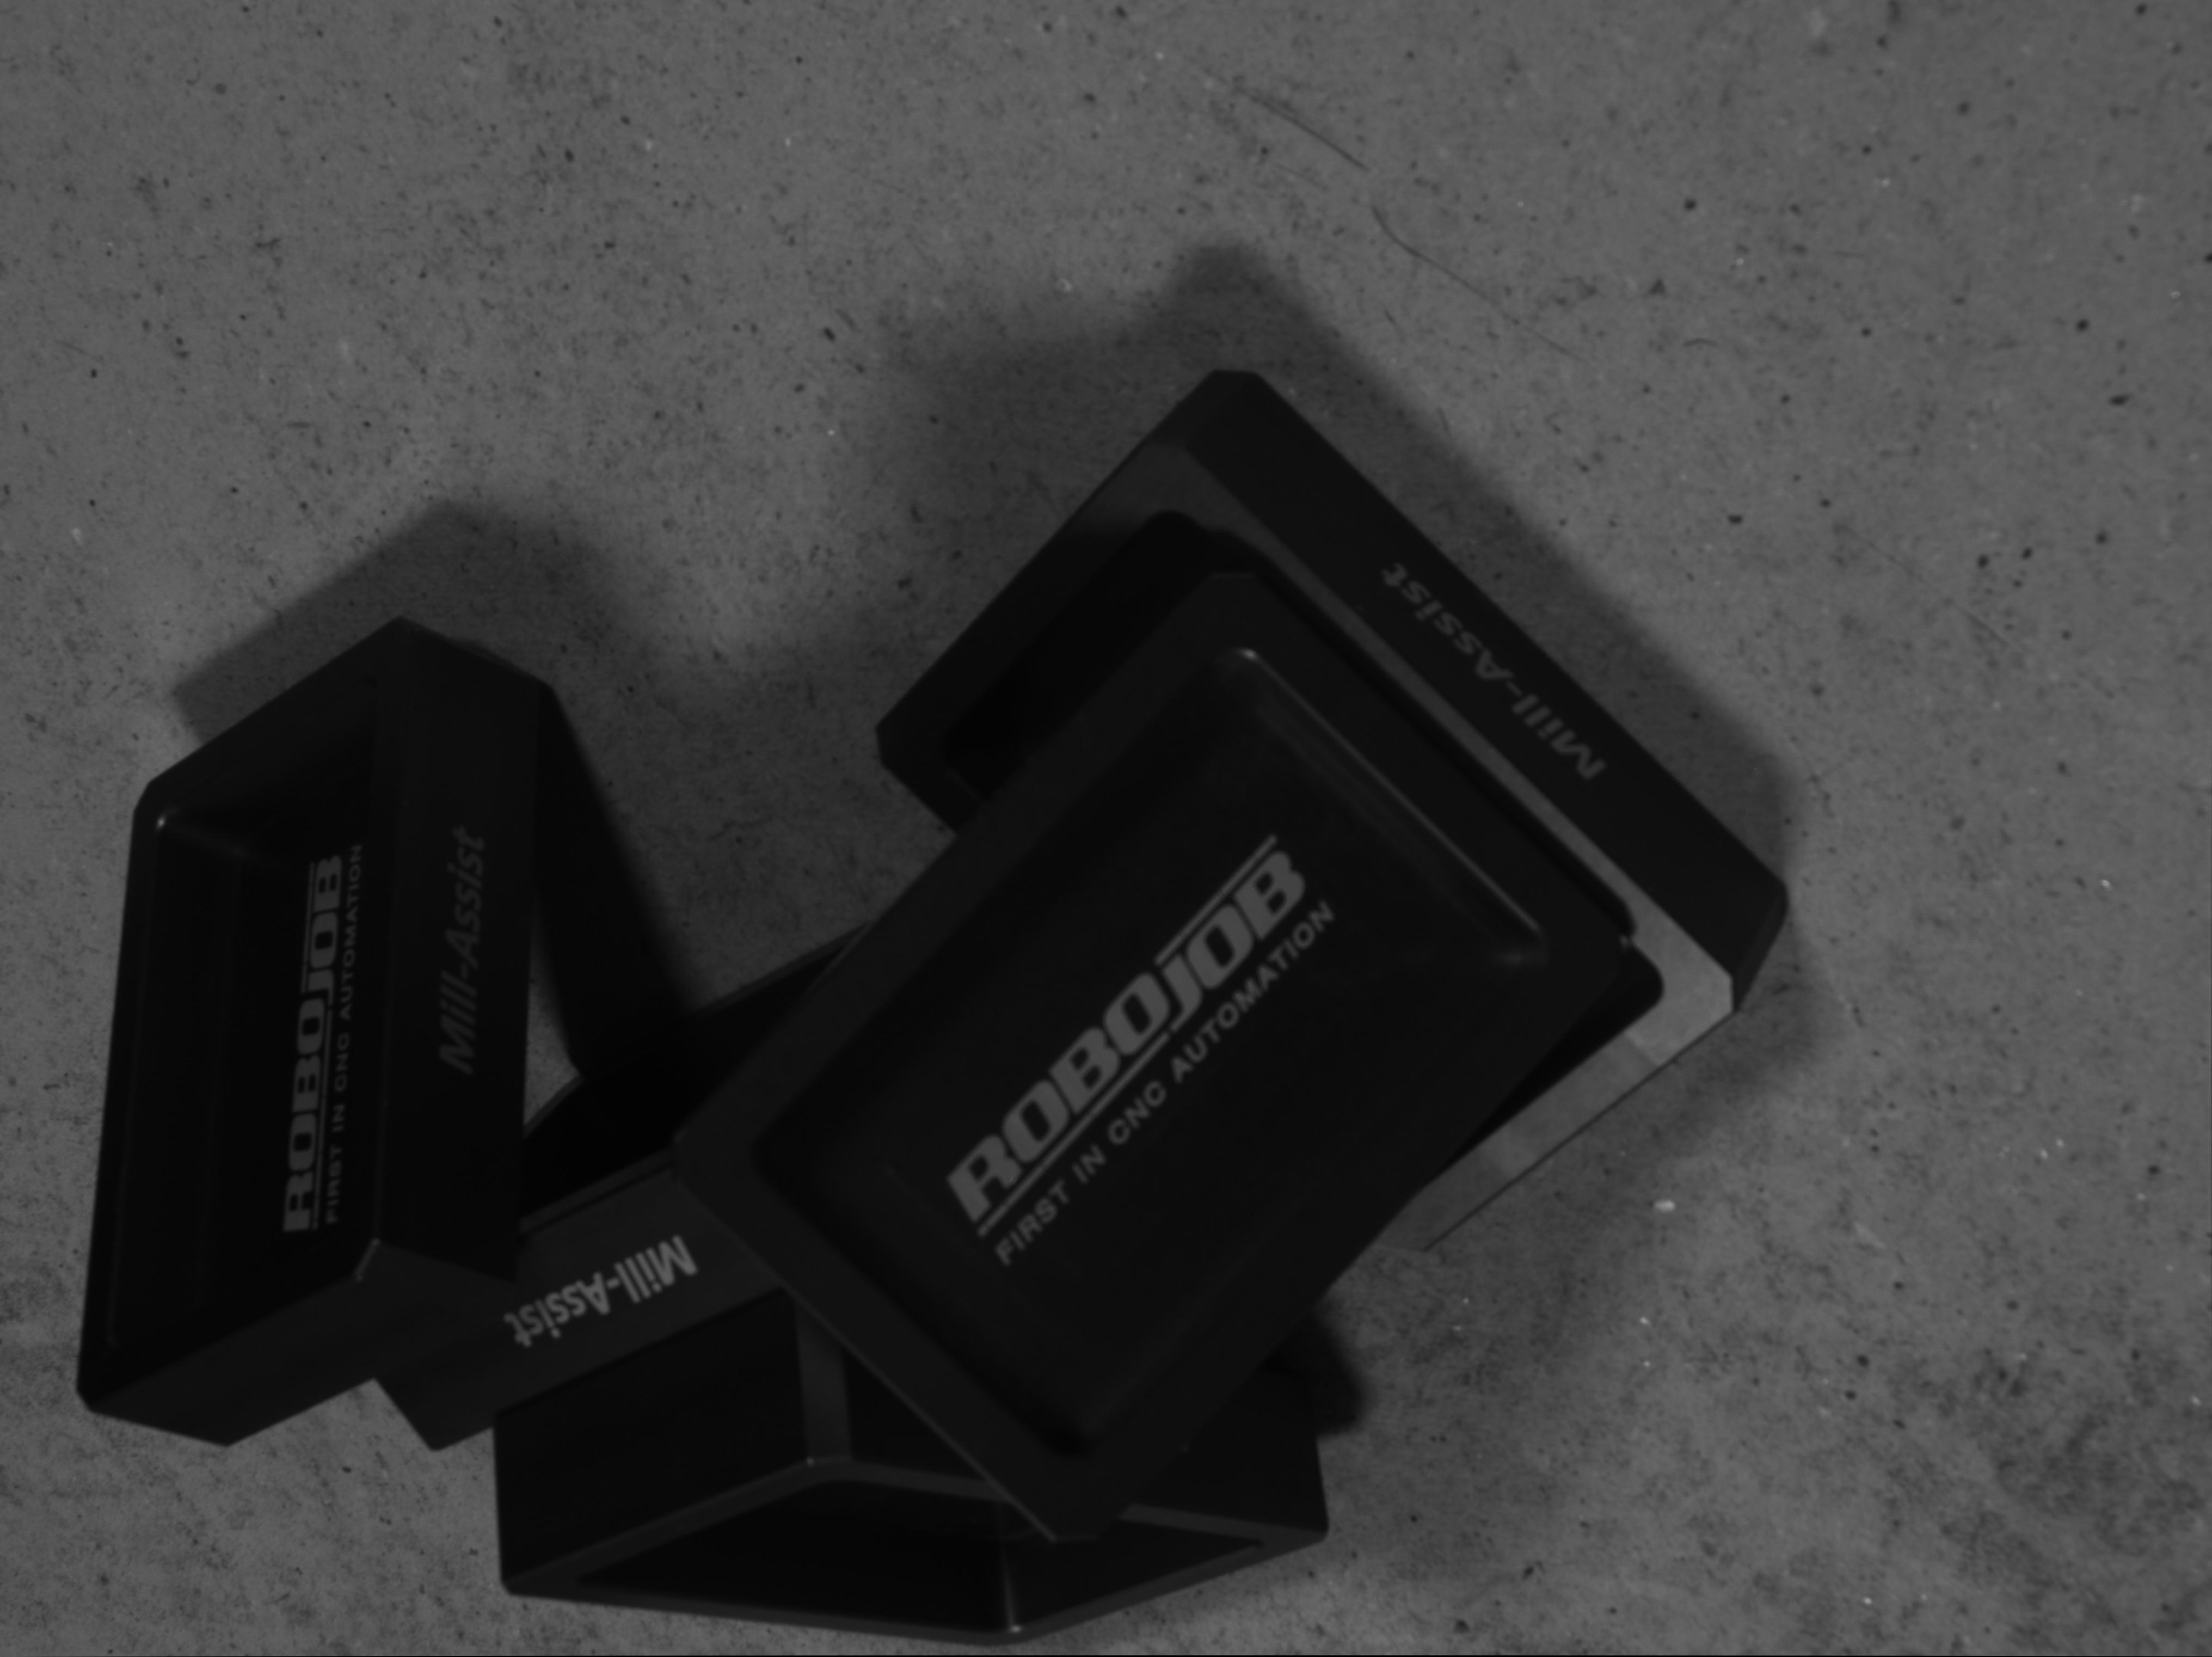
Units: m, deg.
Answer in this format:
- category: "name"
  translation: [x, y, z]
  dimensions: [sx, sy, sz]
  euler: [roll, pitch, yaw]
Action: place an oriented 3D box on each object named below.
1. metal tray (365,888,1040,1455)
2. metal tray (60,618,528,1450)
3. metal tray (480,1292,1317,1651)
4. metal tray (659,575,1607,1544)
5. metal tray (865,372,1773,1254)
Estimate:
- category: "metal tray"
  translation: [-0.071, 0.059, 0.661]
  dimensions: [0.130, 0.090, 0.030]
  euler: [-27, 104, 36]
- category: "metal tray"
  translation: [-0.147, 0.037, 0.667]
  dimensions: [0.090, 0.130, 0.030]
  euler: [-27, 143, 36]
- category: "metal tray"
  translation: [-0.036, 0.120, 0.666]
  dimensions: [0.090, 0.030, 0.130]
  euler: [-27, 149, 36]
- category: "metal tray"
  translation: [0.004, 0.036, 0.580]
  dimensions: [0.090, 0.030, 0.130]
  euler: [44, 83, -4]
- category: "metal tray"
  translation: [0.034, -0.001, 0.611]
  dimensions: [0.130, 0.030, 0.090]
  euler: [44, 128, -3]
